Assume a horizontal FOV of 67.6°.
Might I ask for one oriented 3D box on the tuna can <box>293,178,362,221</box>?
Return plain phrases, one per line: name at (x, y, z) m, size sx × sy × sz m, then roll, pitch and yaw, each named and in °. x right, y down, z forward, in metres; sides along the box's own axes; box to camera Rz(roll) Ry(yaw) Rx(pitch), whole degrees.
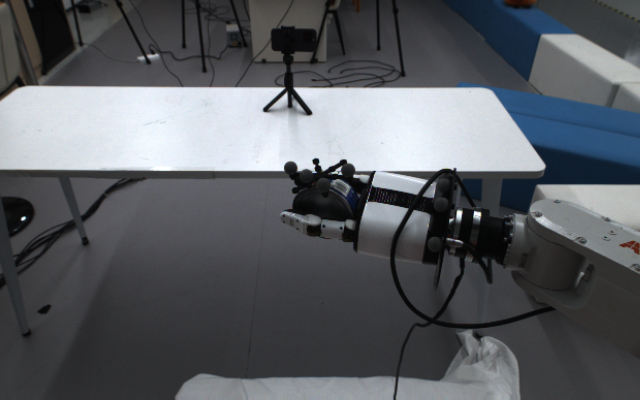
tuna can at (0.010, 0.007, 0.644) m, size 0.085 × 0.085 × 0.034 m, roll 14°, pitch 40°, yaw 16°
